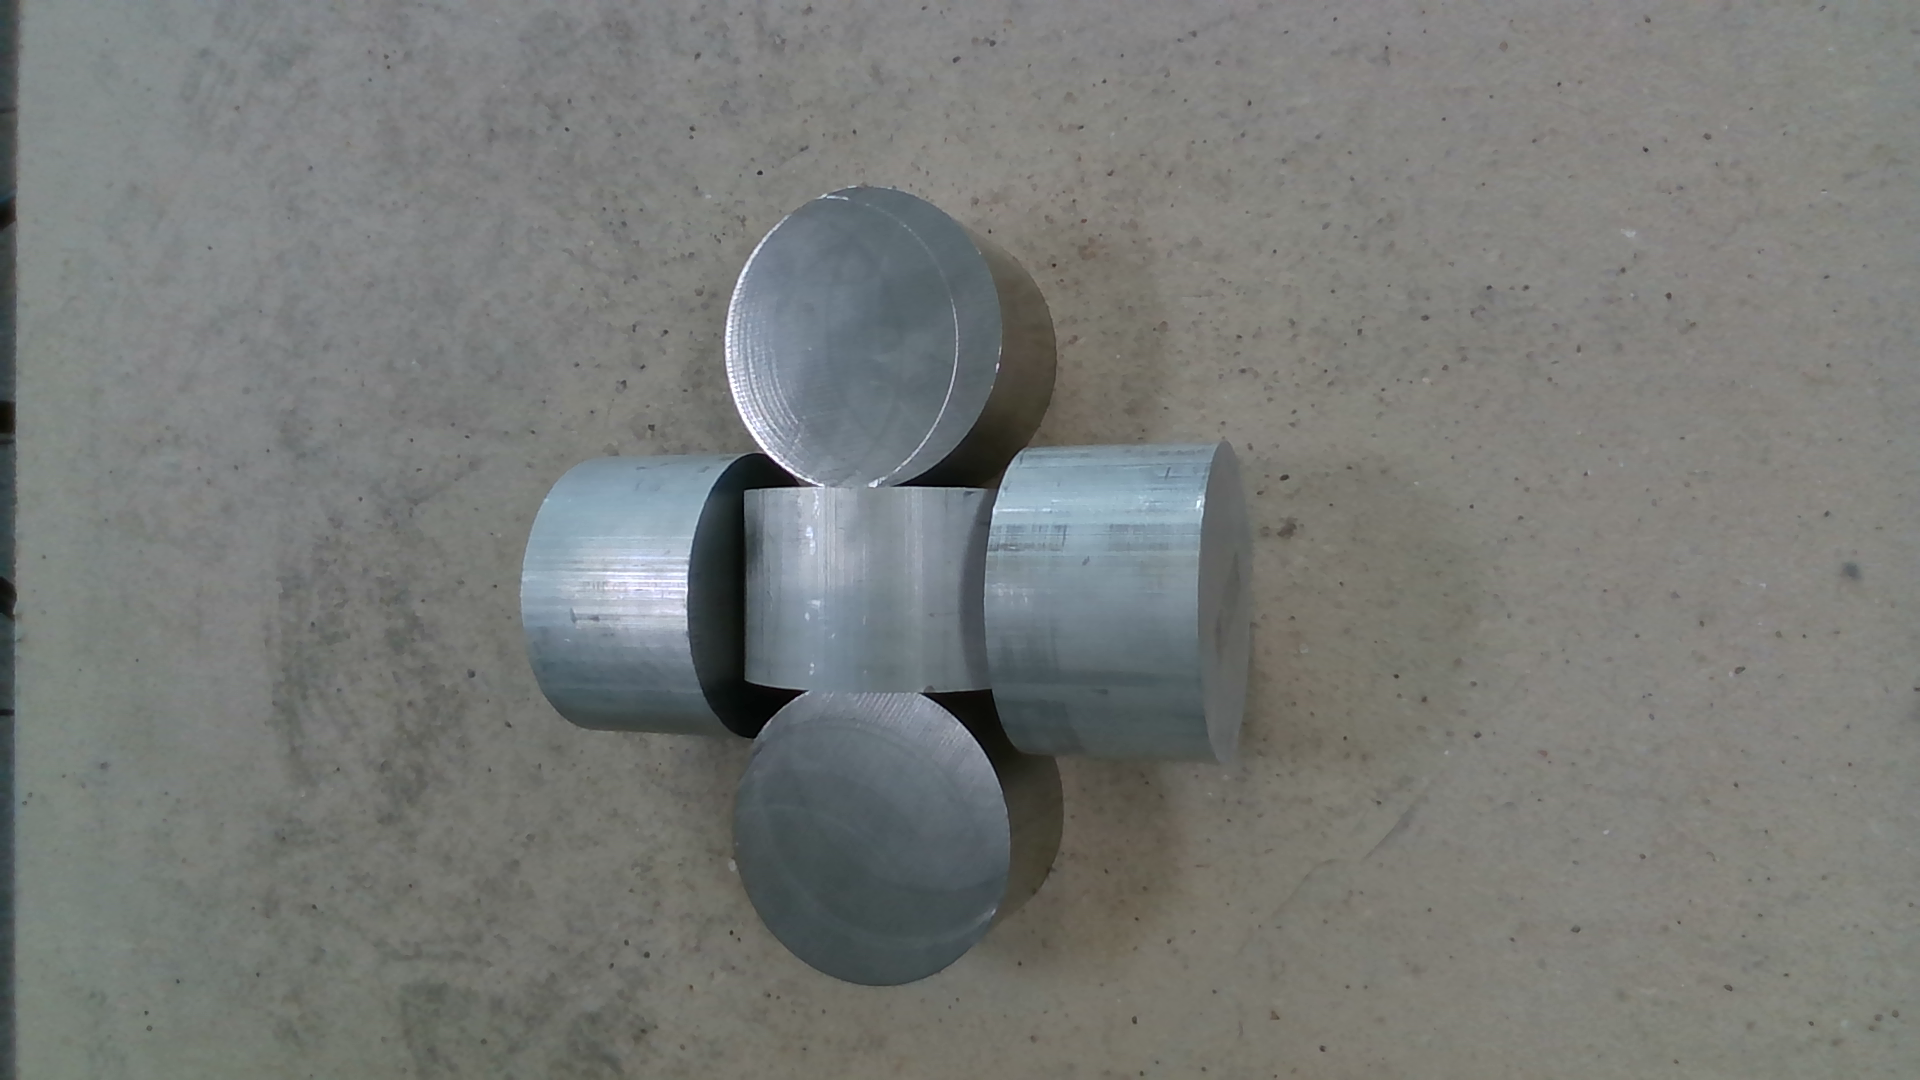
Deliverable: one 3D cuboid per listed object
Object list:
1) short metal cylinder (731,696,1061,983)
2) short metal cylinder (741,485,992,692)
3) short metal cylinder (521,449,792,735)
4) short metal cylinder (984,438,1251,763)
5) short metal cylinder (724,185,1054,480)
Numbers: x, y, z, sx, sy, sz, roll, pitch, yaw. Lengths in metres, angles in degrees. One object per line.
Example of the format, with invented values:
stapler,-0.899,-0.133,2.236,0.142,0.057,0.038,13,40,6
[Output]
short metal cylinder,-0.017,0.077,0.387,0.080,0.050,0.080,0,90,20
short metal cylinder,-0.019,0.012,0.372,0.080,0.080,0.050,0,90,20
short metal cylinder,-0.079,0.015,0.395,0.050,0.080,0.080,0,90,20
short metal cylinder,0.043,0.015,0.350,0.050,0.080,0.080,0,90,20
short metal cylinder,-0.019,-0.054,0.387,0.080,0.050,0.080,0,91,20
